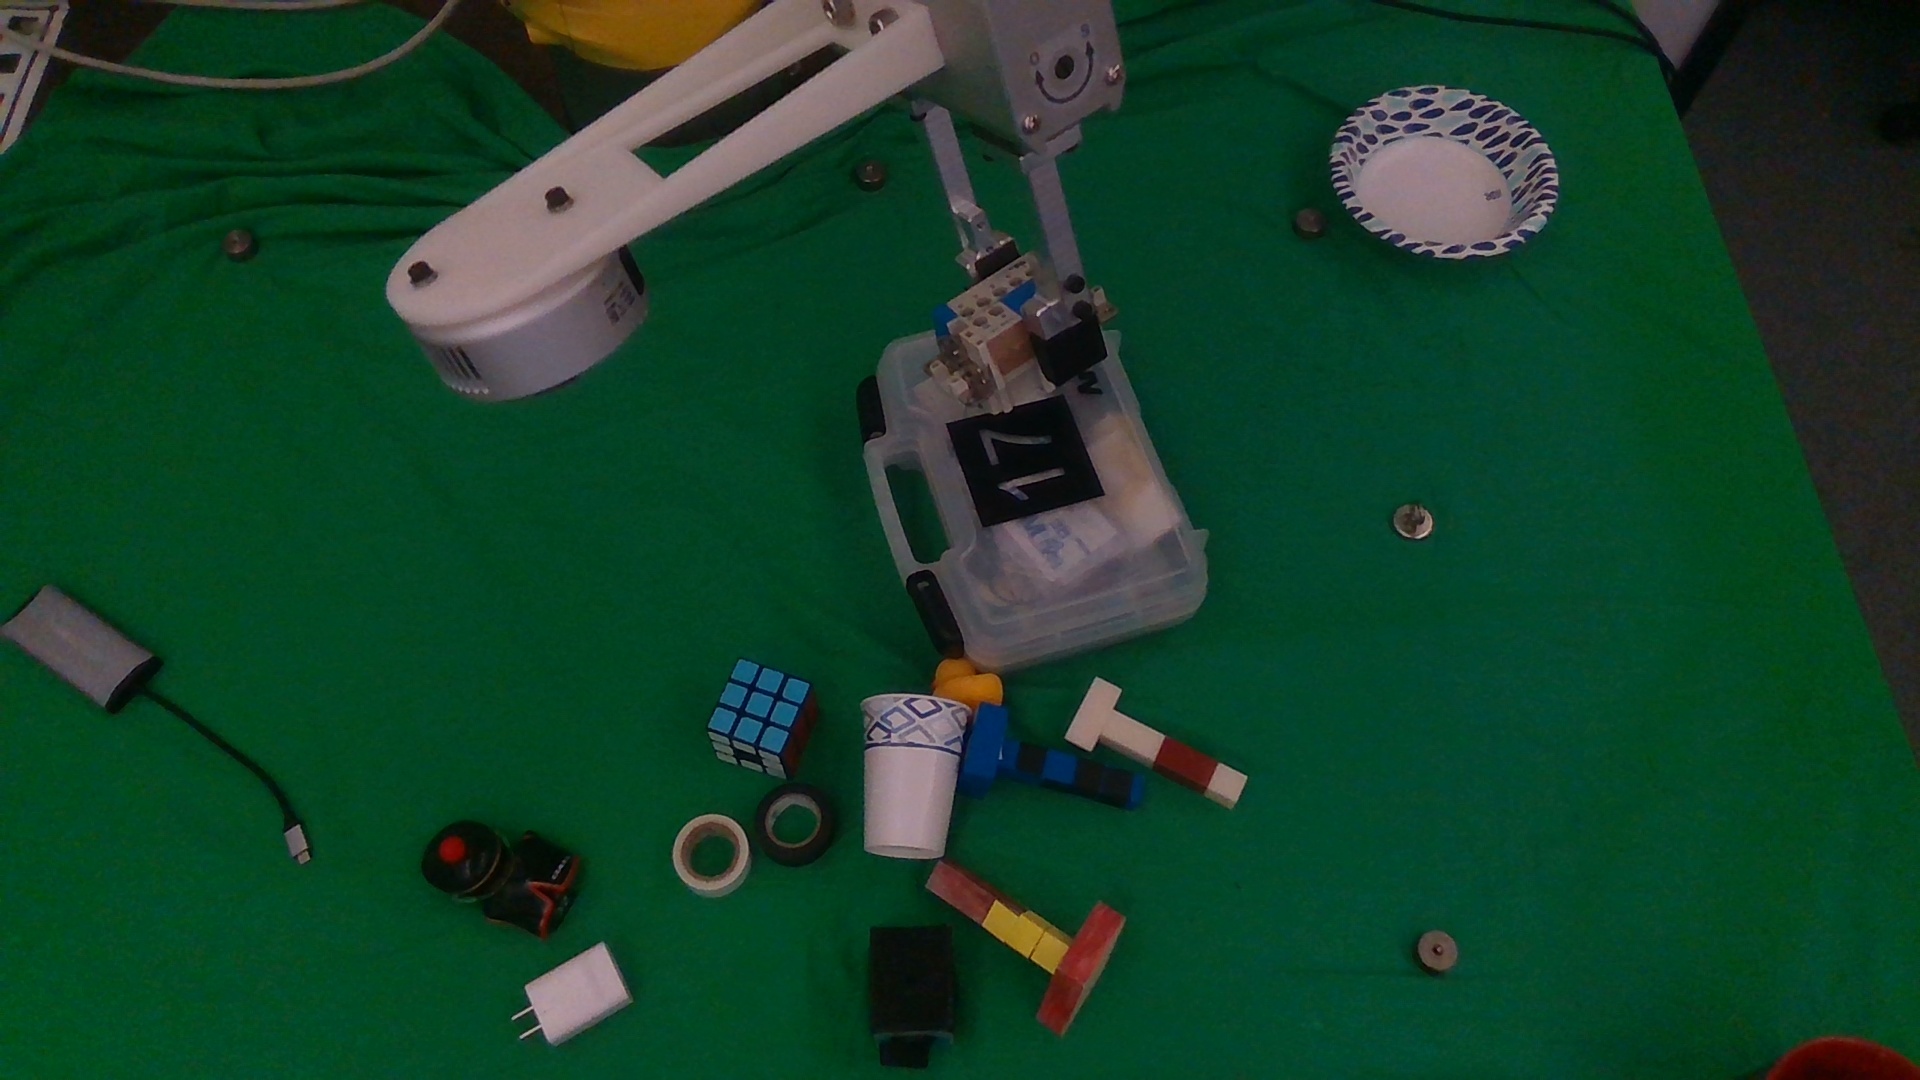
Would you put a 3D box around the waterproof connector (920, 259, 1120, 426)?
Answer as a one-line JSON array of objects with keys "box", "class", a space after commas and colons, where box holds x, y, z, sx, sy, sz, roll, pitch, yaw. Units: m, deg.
[{"box": [0.019, -0.065, 0.465, 0.065, 0.037, 0.035, -30, 38, -7], "class": "waterproof connector"}]

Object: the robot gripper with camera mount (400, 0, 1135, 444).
[{"box": [-0.050, -0.071, 0.398, 0.193, 0.158, 0.119, -36, 37, -16], "class": "robot gripper with camera mount"}]
